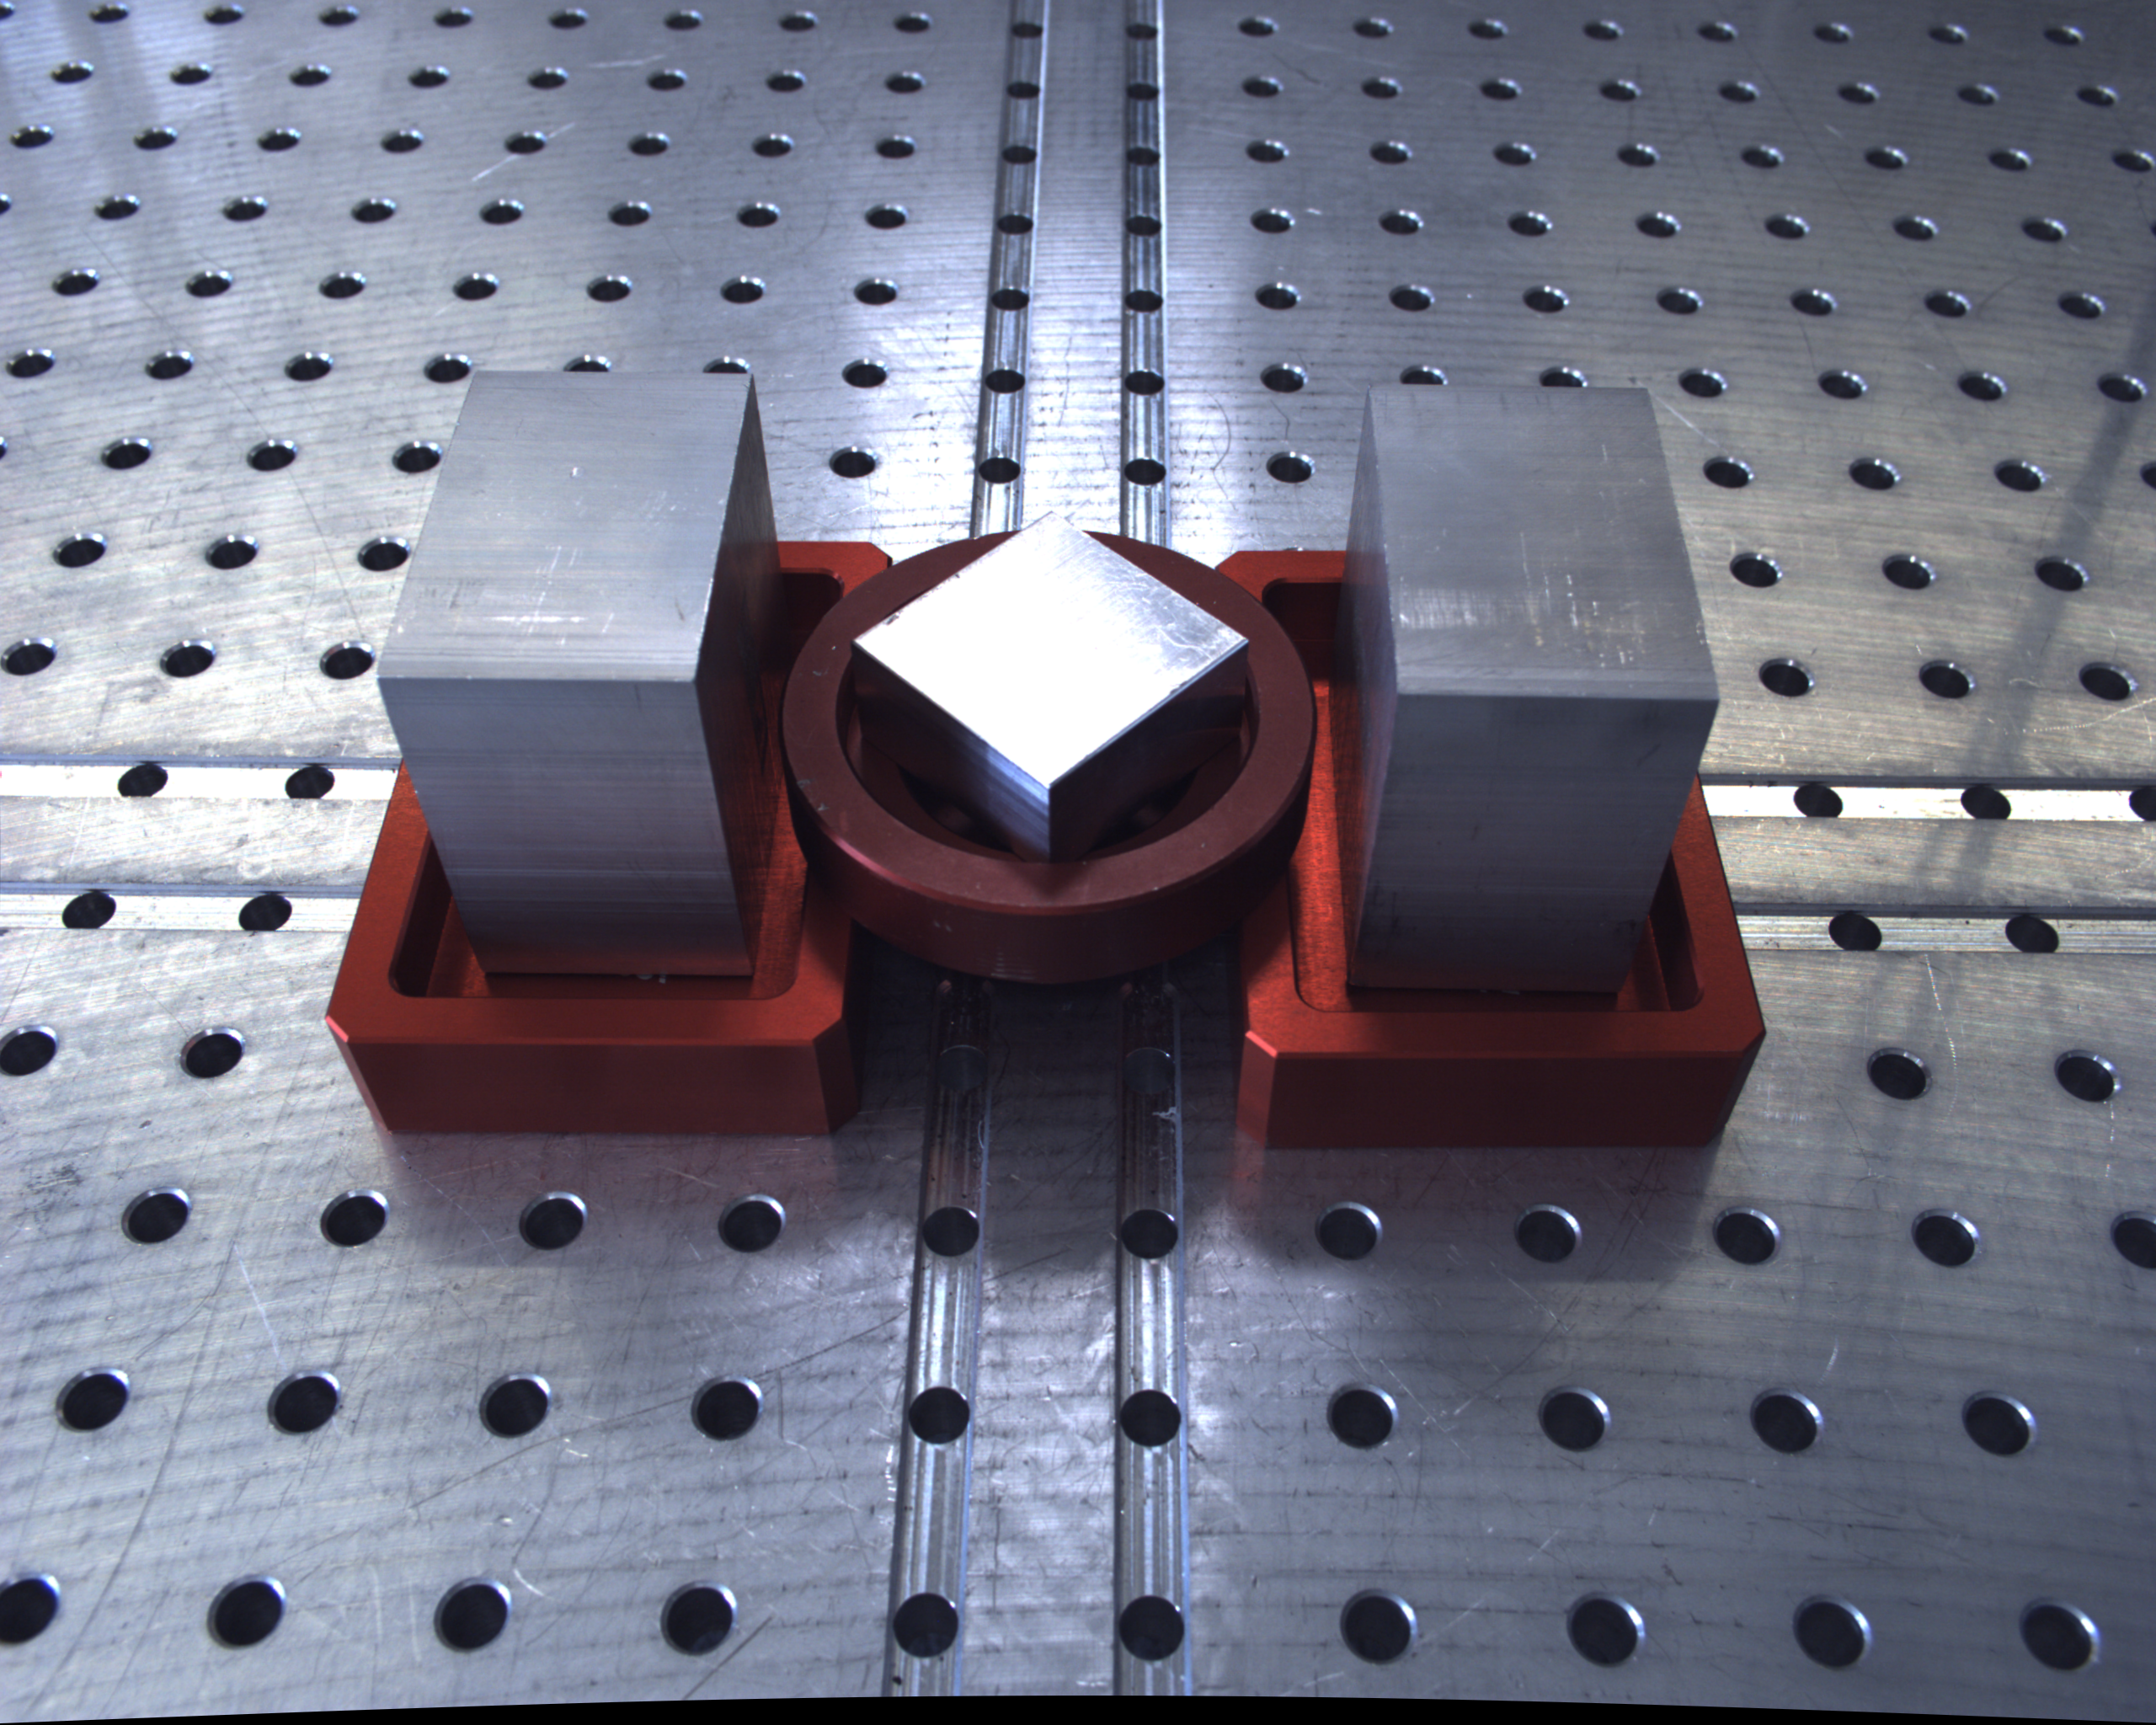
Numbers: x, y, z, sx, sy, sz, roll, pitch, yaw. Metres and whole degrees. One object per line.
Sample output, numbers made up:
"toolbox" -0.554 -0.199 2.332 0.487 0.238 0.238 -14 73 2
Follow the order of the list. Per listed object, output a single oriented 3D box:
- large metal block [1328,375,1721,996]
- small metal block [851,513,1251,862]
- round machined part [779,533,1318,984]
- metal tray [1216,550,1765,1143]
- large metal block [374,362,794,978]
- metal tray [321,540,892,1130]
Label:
"large metal block" 0.076 -0.032 0.381 0.050 0.080 0.080 1 50 1
"small metal block" -0.005 -0.031 0.381 0.050 0.025 0.050 37 59 27
"round machined part" -0.005 -0.016 0.398 0.099 0.042 0.098 0 50 0
"metal tray" 0.074 -0.008 0.410 0.091 0.030 0.130 0 50 0
"large metal block" -0.084 -0.035 0.383 0.050 0.080 0.080 1 50 1
"metal tray" -0.085 -0.010 0.411 0.091 0.030 0.130 1 50 0
